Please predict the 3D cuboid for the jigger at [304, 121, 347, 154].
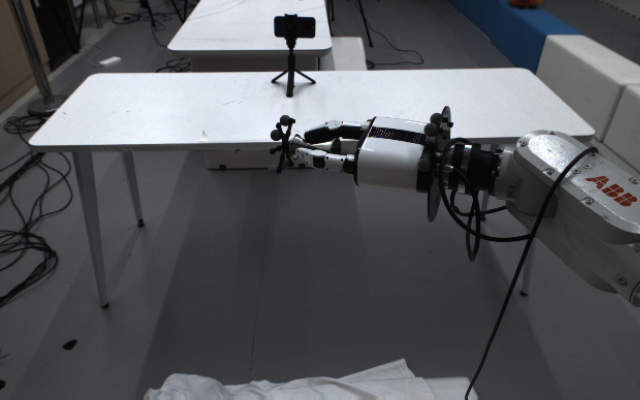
[{"bbox_3d":[-0.002,-0.079,0.728,0.071,0.043,0.043,10,35,22],"label":"jigger"}]
